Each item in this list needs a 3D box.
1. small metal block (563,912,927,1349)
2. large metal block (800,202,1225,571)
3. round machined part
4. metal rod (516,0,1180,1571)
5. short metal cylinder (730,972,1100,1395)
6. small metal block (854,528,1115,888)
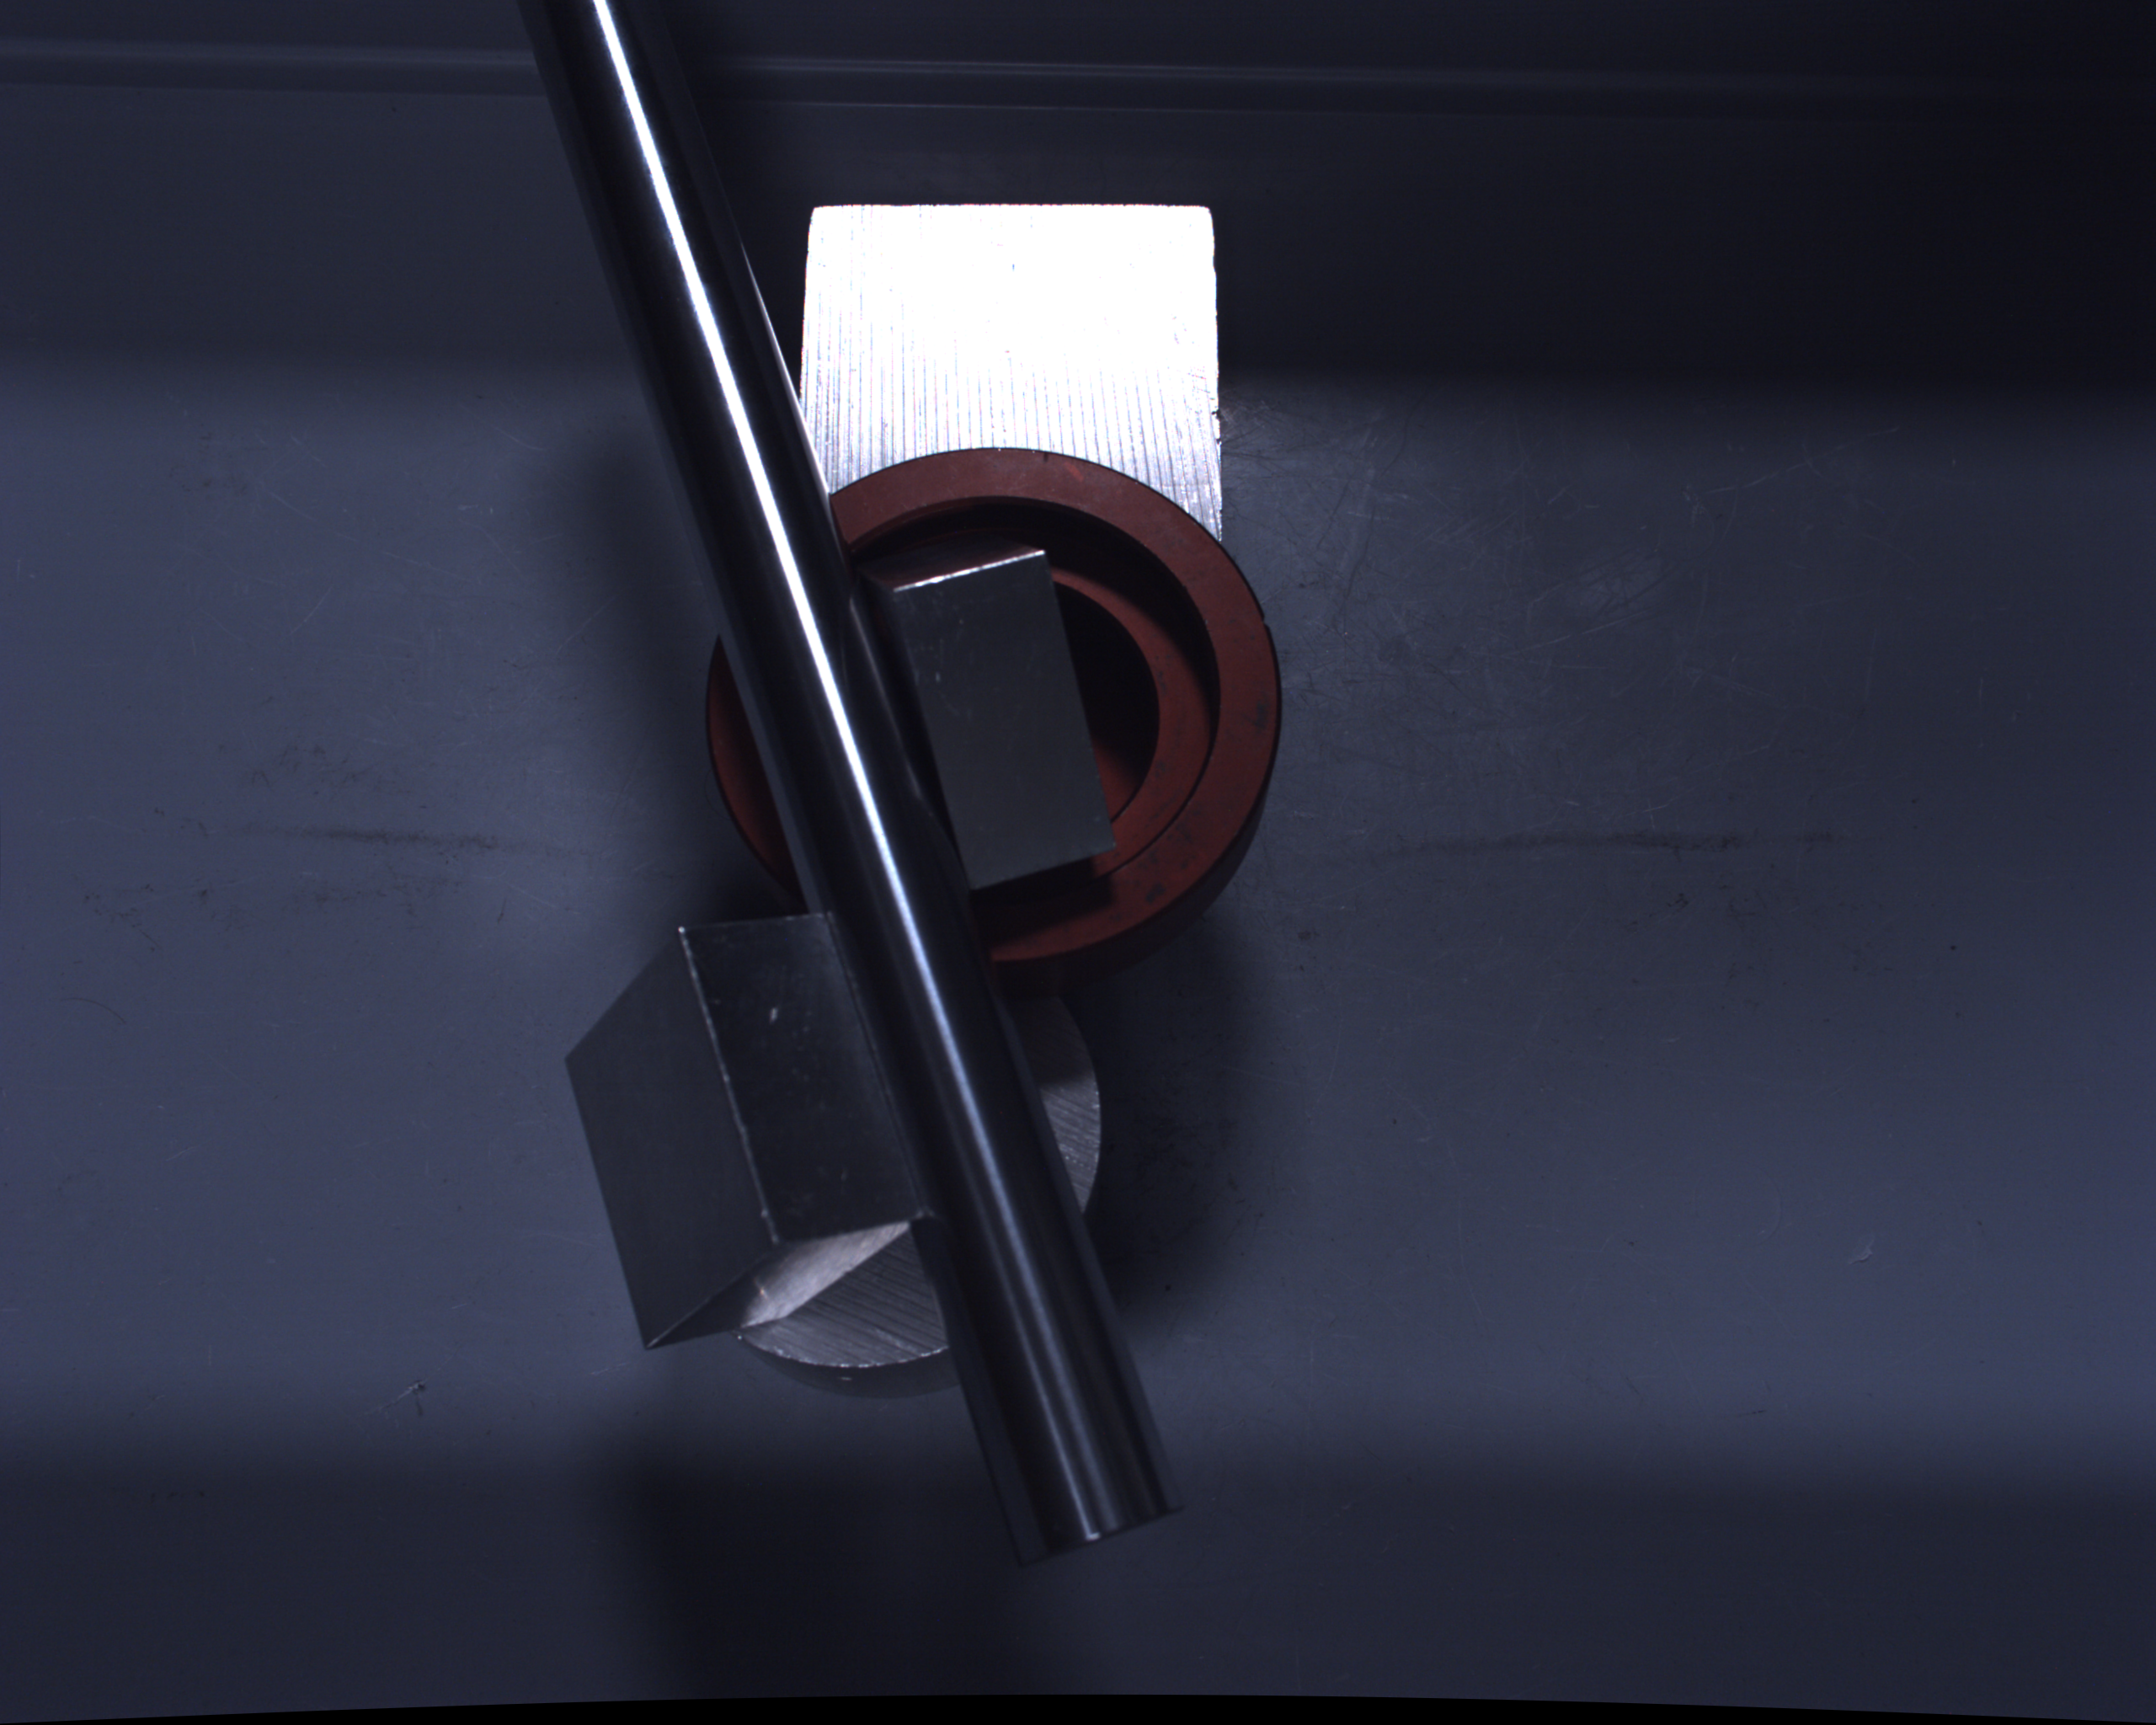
[{"bbox_3d":[-0.053,0.042,0.324,0.025,0.050,0.050,-5,65,-38],"label":"small metal block"},{"bbox_3d":[-0.013,-0.085,0.424,0.081,0.050,0.080,0,70,-1],"label":"large metal block"},{"bbox_3d":[-0.014,-0.022,0.376,0.099,0.042,0.098,0,70,-1],"label":"round machined part"},{"bbox_3d":[-0.046,-0.036,0.346,0.025,0.025,0.299,-18,71,-7],"label":"metal rod"},{"bbox_3d":[-0.037,0.053,0.376,0.081,0.050,0.080,0,70,0],"label":"short metal cylinder"},{"bbox_3d":[-0.017,-0.028,0.354,0.025,0.050,0.050,-16,106,-10],"label":"small metal block"}]
